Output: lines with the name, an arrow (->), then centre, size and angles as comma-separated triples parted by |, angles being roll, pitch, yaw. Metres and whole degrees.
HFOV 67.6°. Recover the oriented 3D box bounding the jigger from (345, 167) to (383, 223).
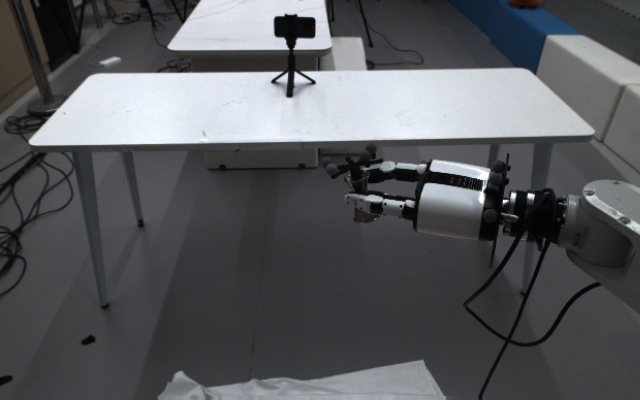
jigger -> 0.063, -0.004, 0.724 | 0.043, 0.071, 0.043 | -14, 21, 6
